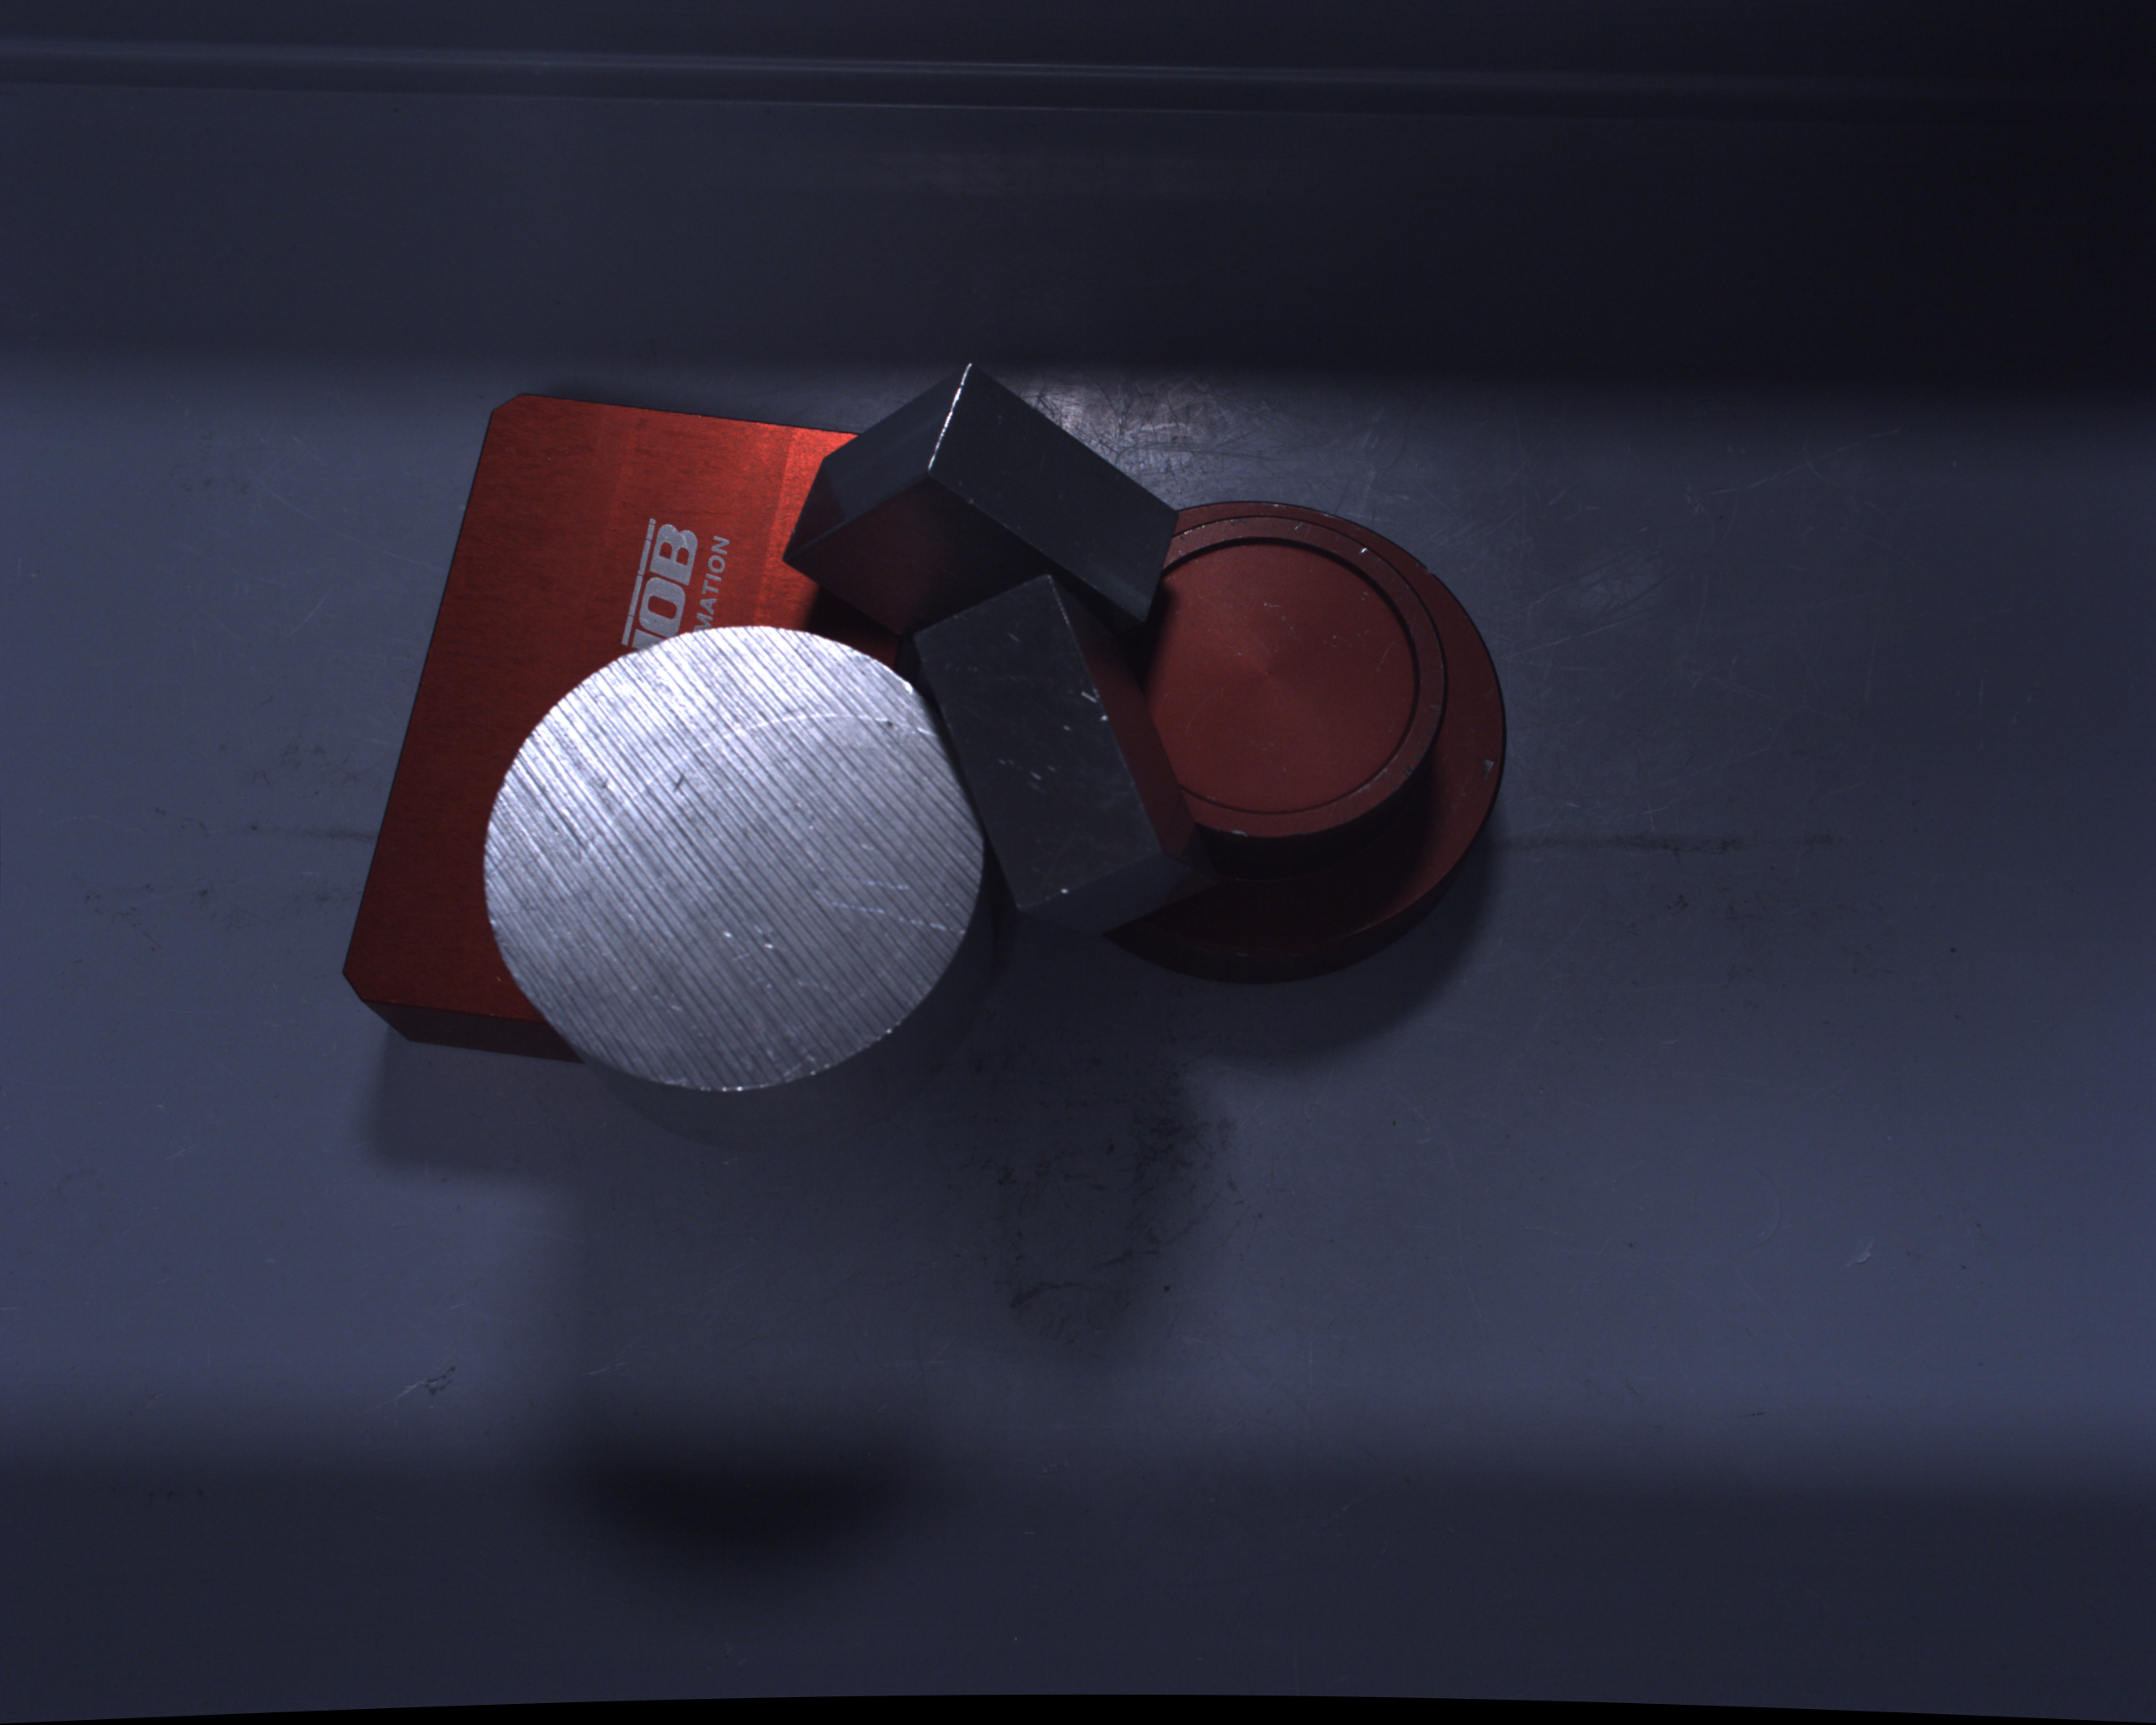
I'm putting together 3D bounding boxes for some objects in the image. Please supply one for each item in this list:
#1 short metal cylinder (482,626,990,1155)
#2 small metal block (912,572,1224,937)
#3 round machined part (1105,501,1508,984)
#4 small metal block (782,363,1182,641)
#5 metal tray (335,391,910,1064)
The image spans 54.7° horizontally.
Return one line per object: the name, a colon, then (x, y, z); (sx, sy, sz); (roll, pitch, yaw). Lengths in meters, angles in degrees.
short metal cylinder: (-0.056, 0.006, 0.360); (0.081, 0.050, 0.080); (0, 70, 0)
small metal block: (0.000, -0.017, 0.359); (0.025, 0.050, 0.050); (-24, 78, 11)
round machined part: (0.035, -0.029, 0.409); (0.099, 0.042, 0.098); (0, 70, -1)
small metal block: (-0.018, -0.060, 0.389); (0.050, 0.050, 0.025); (31, 62, -28)
metal tray: (-0.082, -0.025, 0.411); (0.091, 0.030, 0.130); (7, 70, 2)
